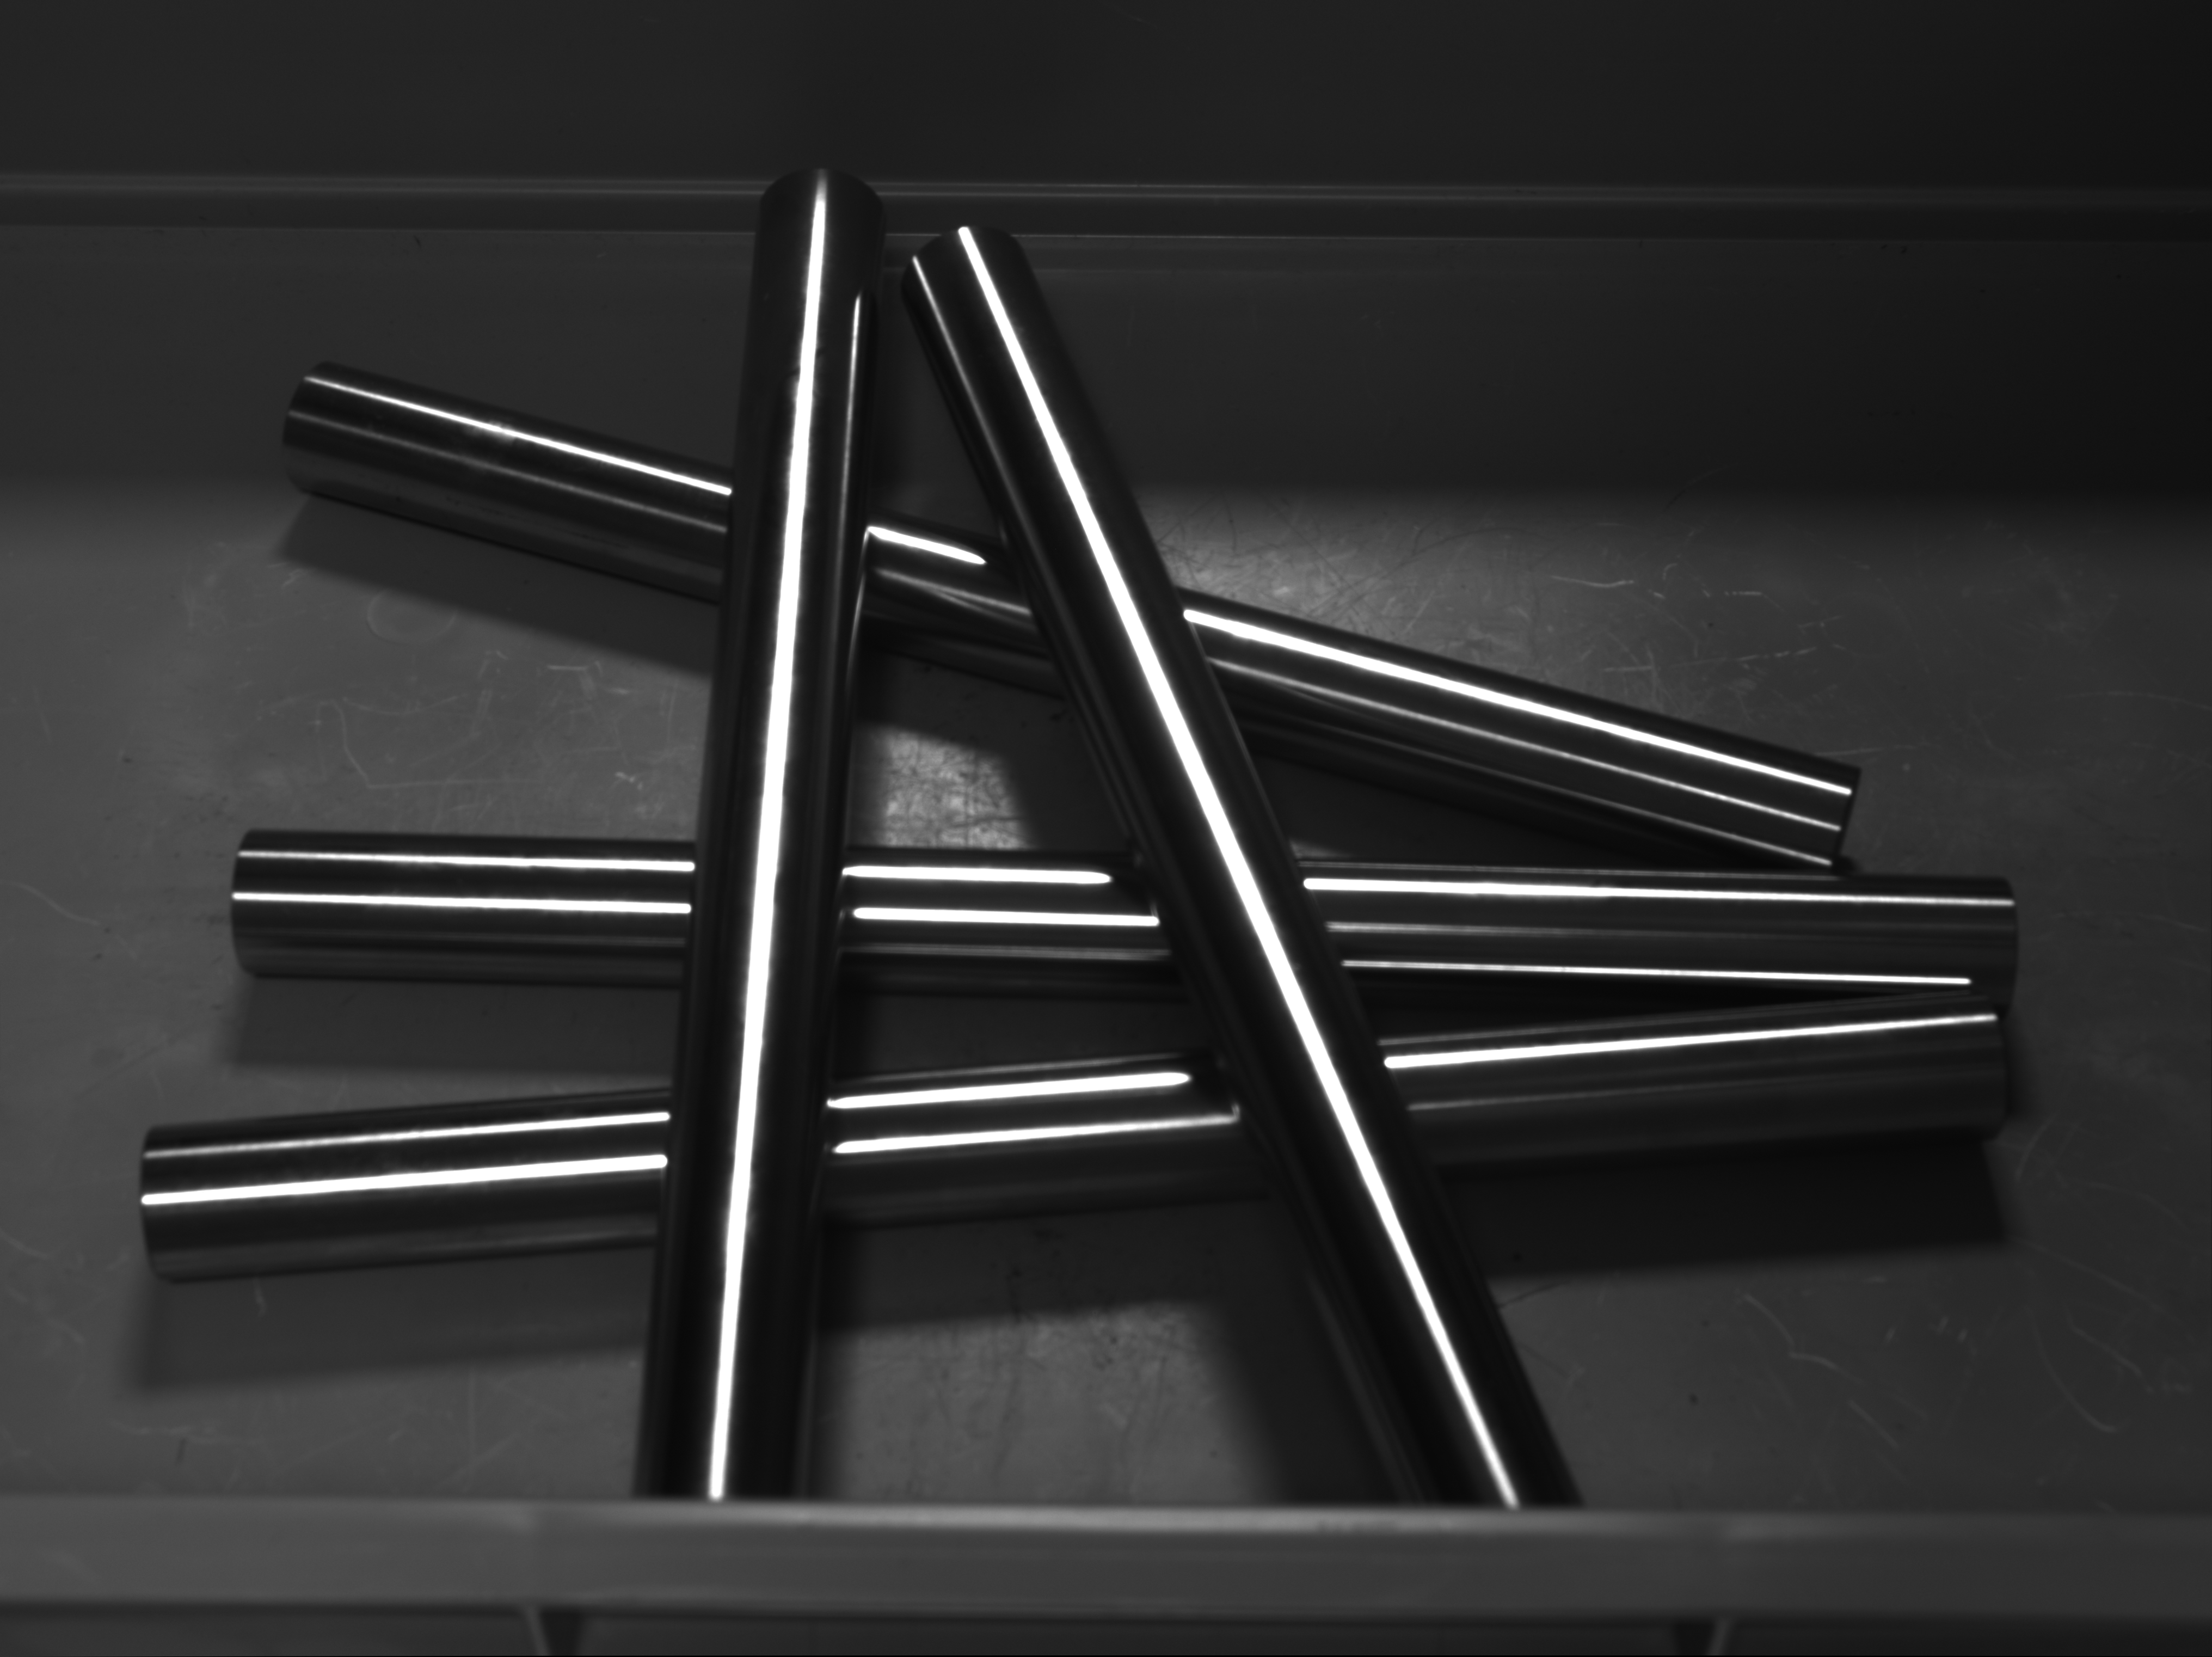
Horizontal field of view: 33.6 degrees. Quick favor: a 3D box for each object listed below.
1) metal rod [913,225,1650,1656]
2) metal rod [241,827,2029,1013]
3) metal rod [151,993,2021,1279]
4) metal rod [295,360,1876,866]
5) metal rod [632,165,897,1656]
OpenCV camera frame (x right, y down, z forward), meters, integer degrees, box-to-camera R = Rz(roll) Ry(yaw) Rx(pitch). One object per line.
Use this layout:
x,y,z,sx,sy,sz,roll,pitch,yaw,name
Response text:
0.020,0.004,0.604,0.025,0.025,0.299,-13,51,-11,metal rod
0.004,0.016,0.626,0.300,0.025,0.025,2,50,1,metal rod
-0.002,0.050,0.598,0.300,0.025,0.025,-4,50,-3,metal rod
-0.009,-0.038,0.673,0.300,0.025,0.025,16,52,13,metal rod
-0.053,-0.004,0.610,0.025,0.025,0.300,0,50,0,metal rod
